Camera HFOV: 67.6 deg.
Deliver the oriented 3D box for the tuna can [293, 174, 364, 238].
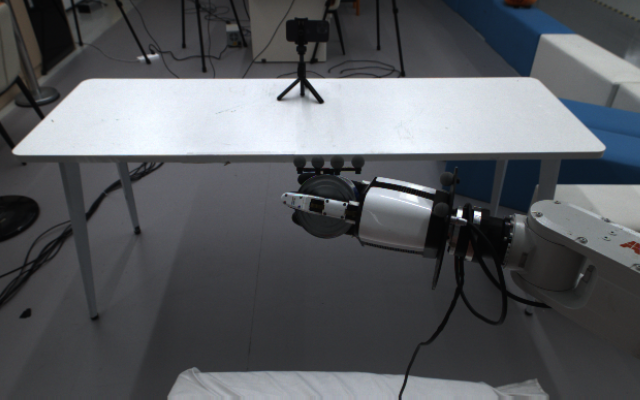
[{"bbox_3d":[0.013,0.007,0.649,0.085,0.085,0.034,12,8,14],"label":"tuna can"}]
